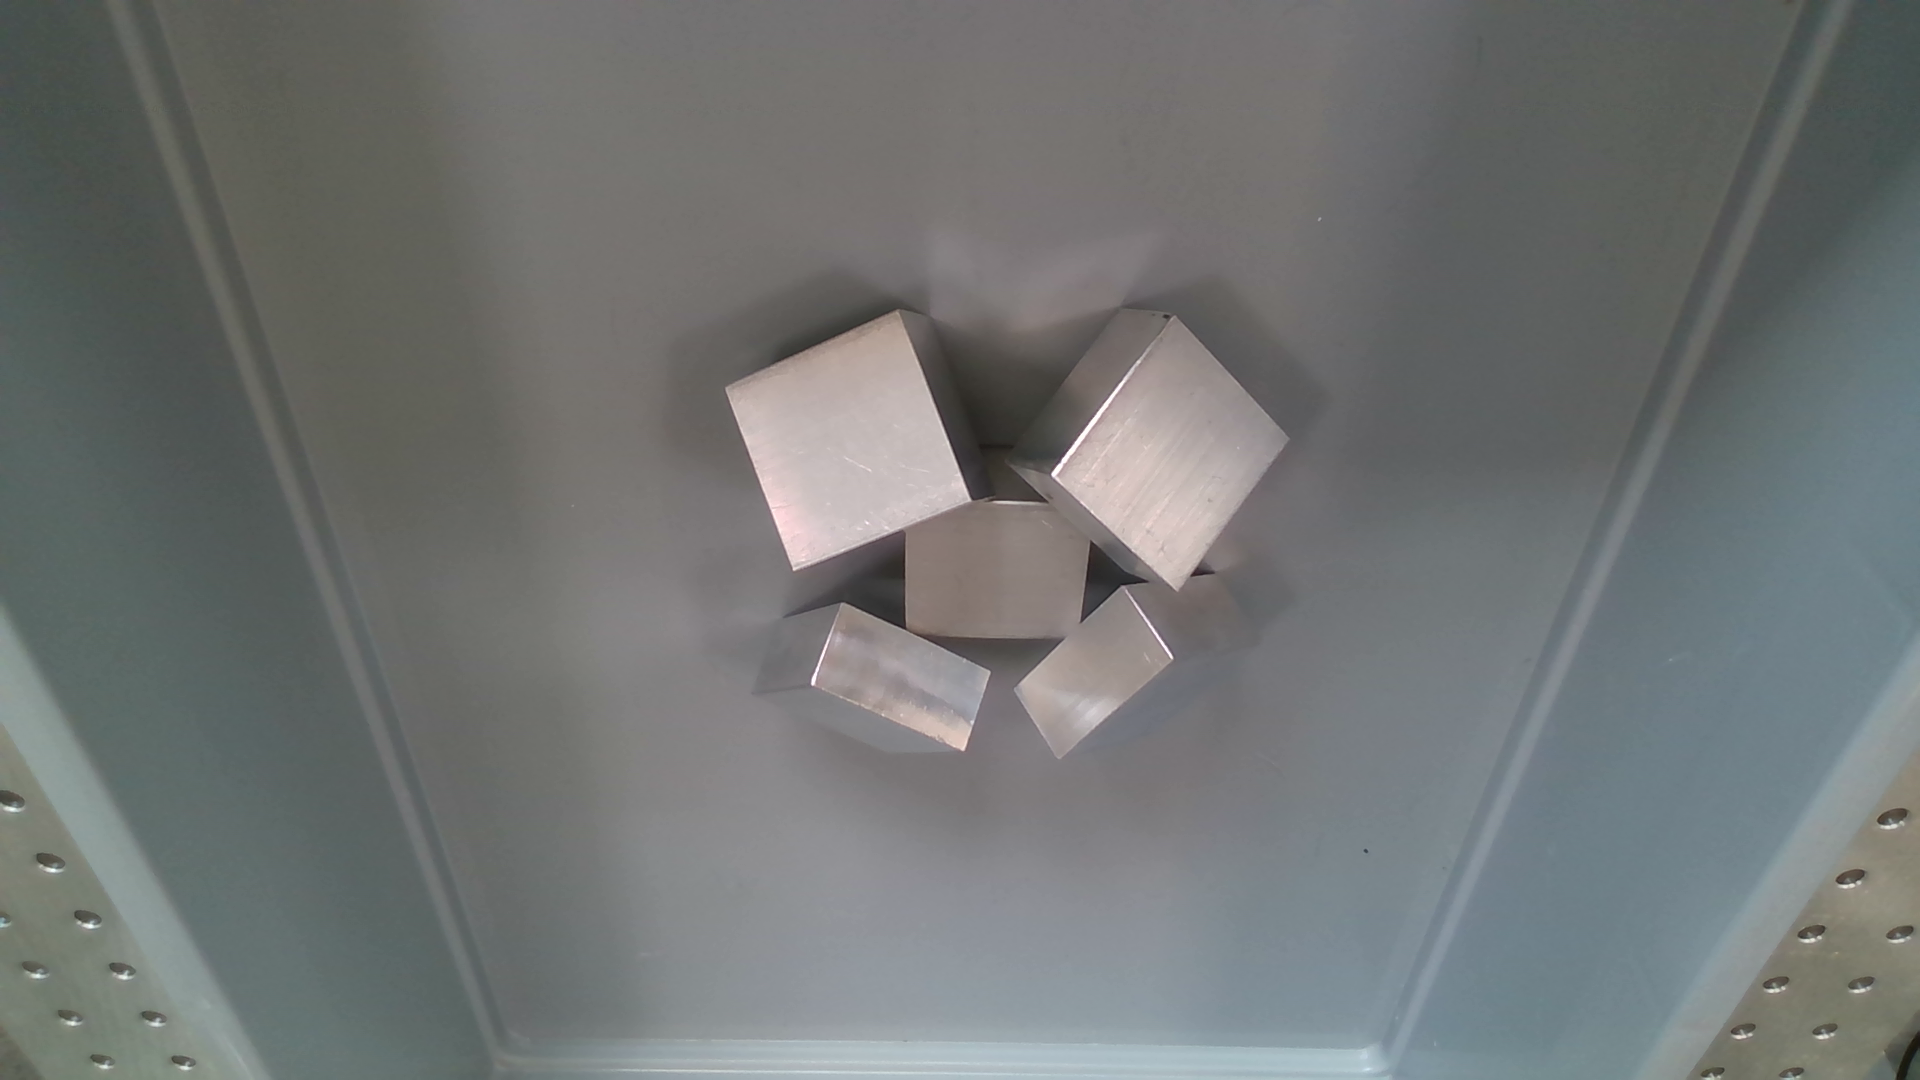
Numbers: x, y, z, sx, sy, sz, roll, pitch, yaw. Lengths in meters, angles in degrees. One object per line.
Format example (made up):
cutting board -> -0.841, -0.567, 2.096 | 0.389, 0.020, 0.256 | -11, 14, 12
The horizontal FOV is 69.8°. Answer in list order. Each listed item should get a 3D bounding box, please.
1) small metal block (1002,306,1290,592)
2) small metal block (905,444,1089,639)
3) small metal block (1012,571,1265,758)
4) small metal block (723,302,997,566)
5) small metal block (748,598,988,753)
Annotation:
small metal block -> 0.048, -0.024, 0.351 | 0.050, 0.025, 0.050 | 40, 82, -28
small metal block -> 0.010, 0.001, 0.387 | 0.050, 0.025, 0.050 | 1, 130, -1
small metal block -> 0.052, 0.036, 0.401 | 0.050, 0.025, 0.050 | -4, 144, -49
small metal block -> -0.025, -0.026, 0.349 | 0.050, 0.025, 0.050 | -20, 90, 16
small metal block -> -0.028, 0.042, 0.408 | 0.050, 0.025, 0.050 | 26, 159, -21
